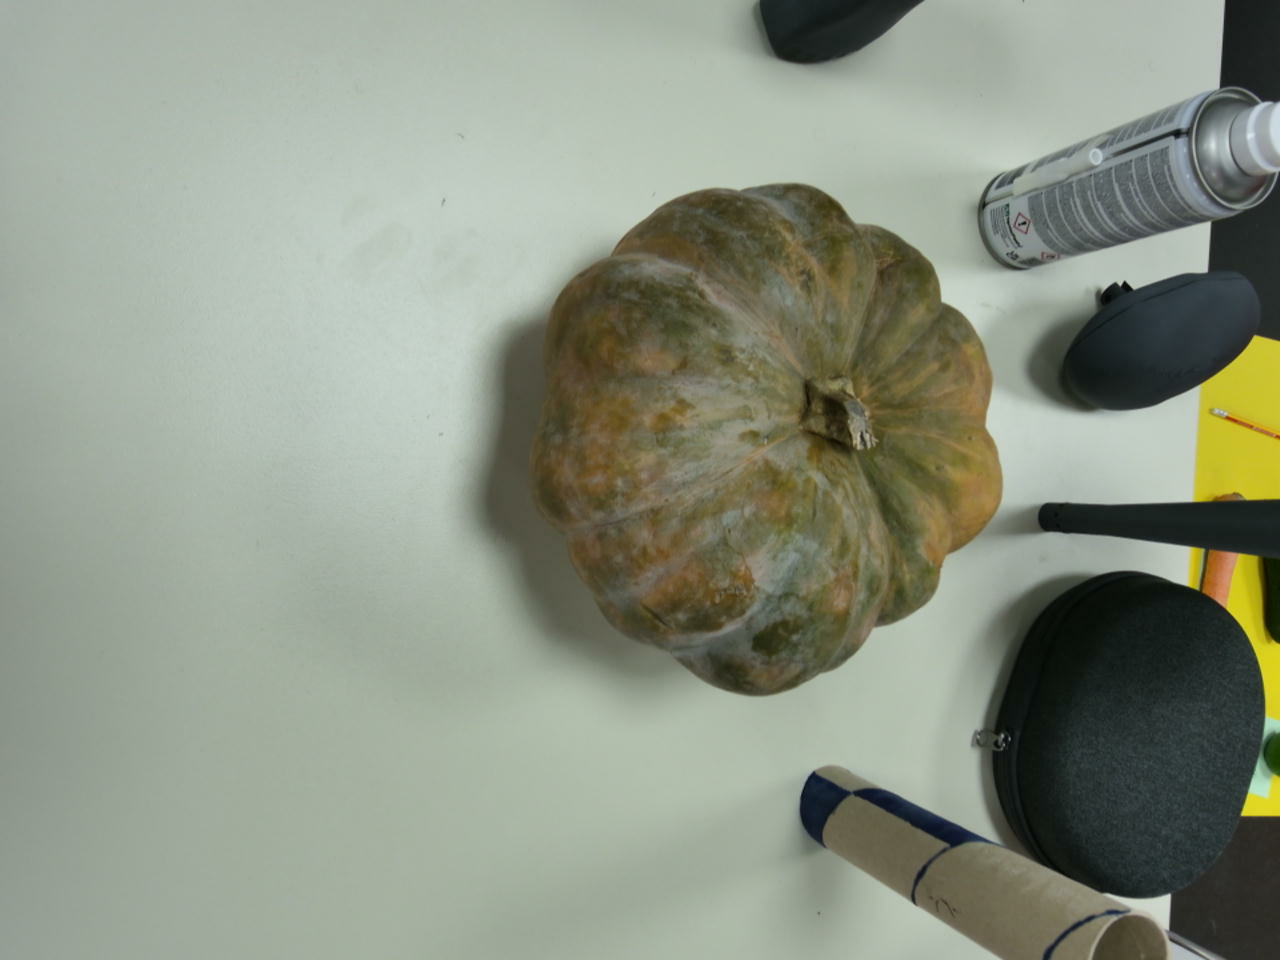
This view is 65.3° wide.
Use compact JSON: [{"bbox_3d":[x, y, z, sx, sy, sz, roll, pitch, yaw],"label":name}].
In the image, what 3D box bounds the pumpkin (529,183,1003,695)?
[{"bbox_3d":[0.063,-0.026,0.507,0.252,0.169,0.252,0,91,-22],"label":"pumpkin"}]
